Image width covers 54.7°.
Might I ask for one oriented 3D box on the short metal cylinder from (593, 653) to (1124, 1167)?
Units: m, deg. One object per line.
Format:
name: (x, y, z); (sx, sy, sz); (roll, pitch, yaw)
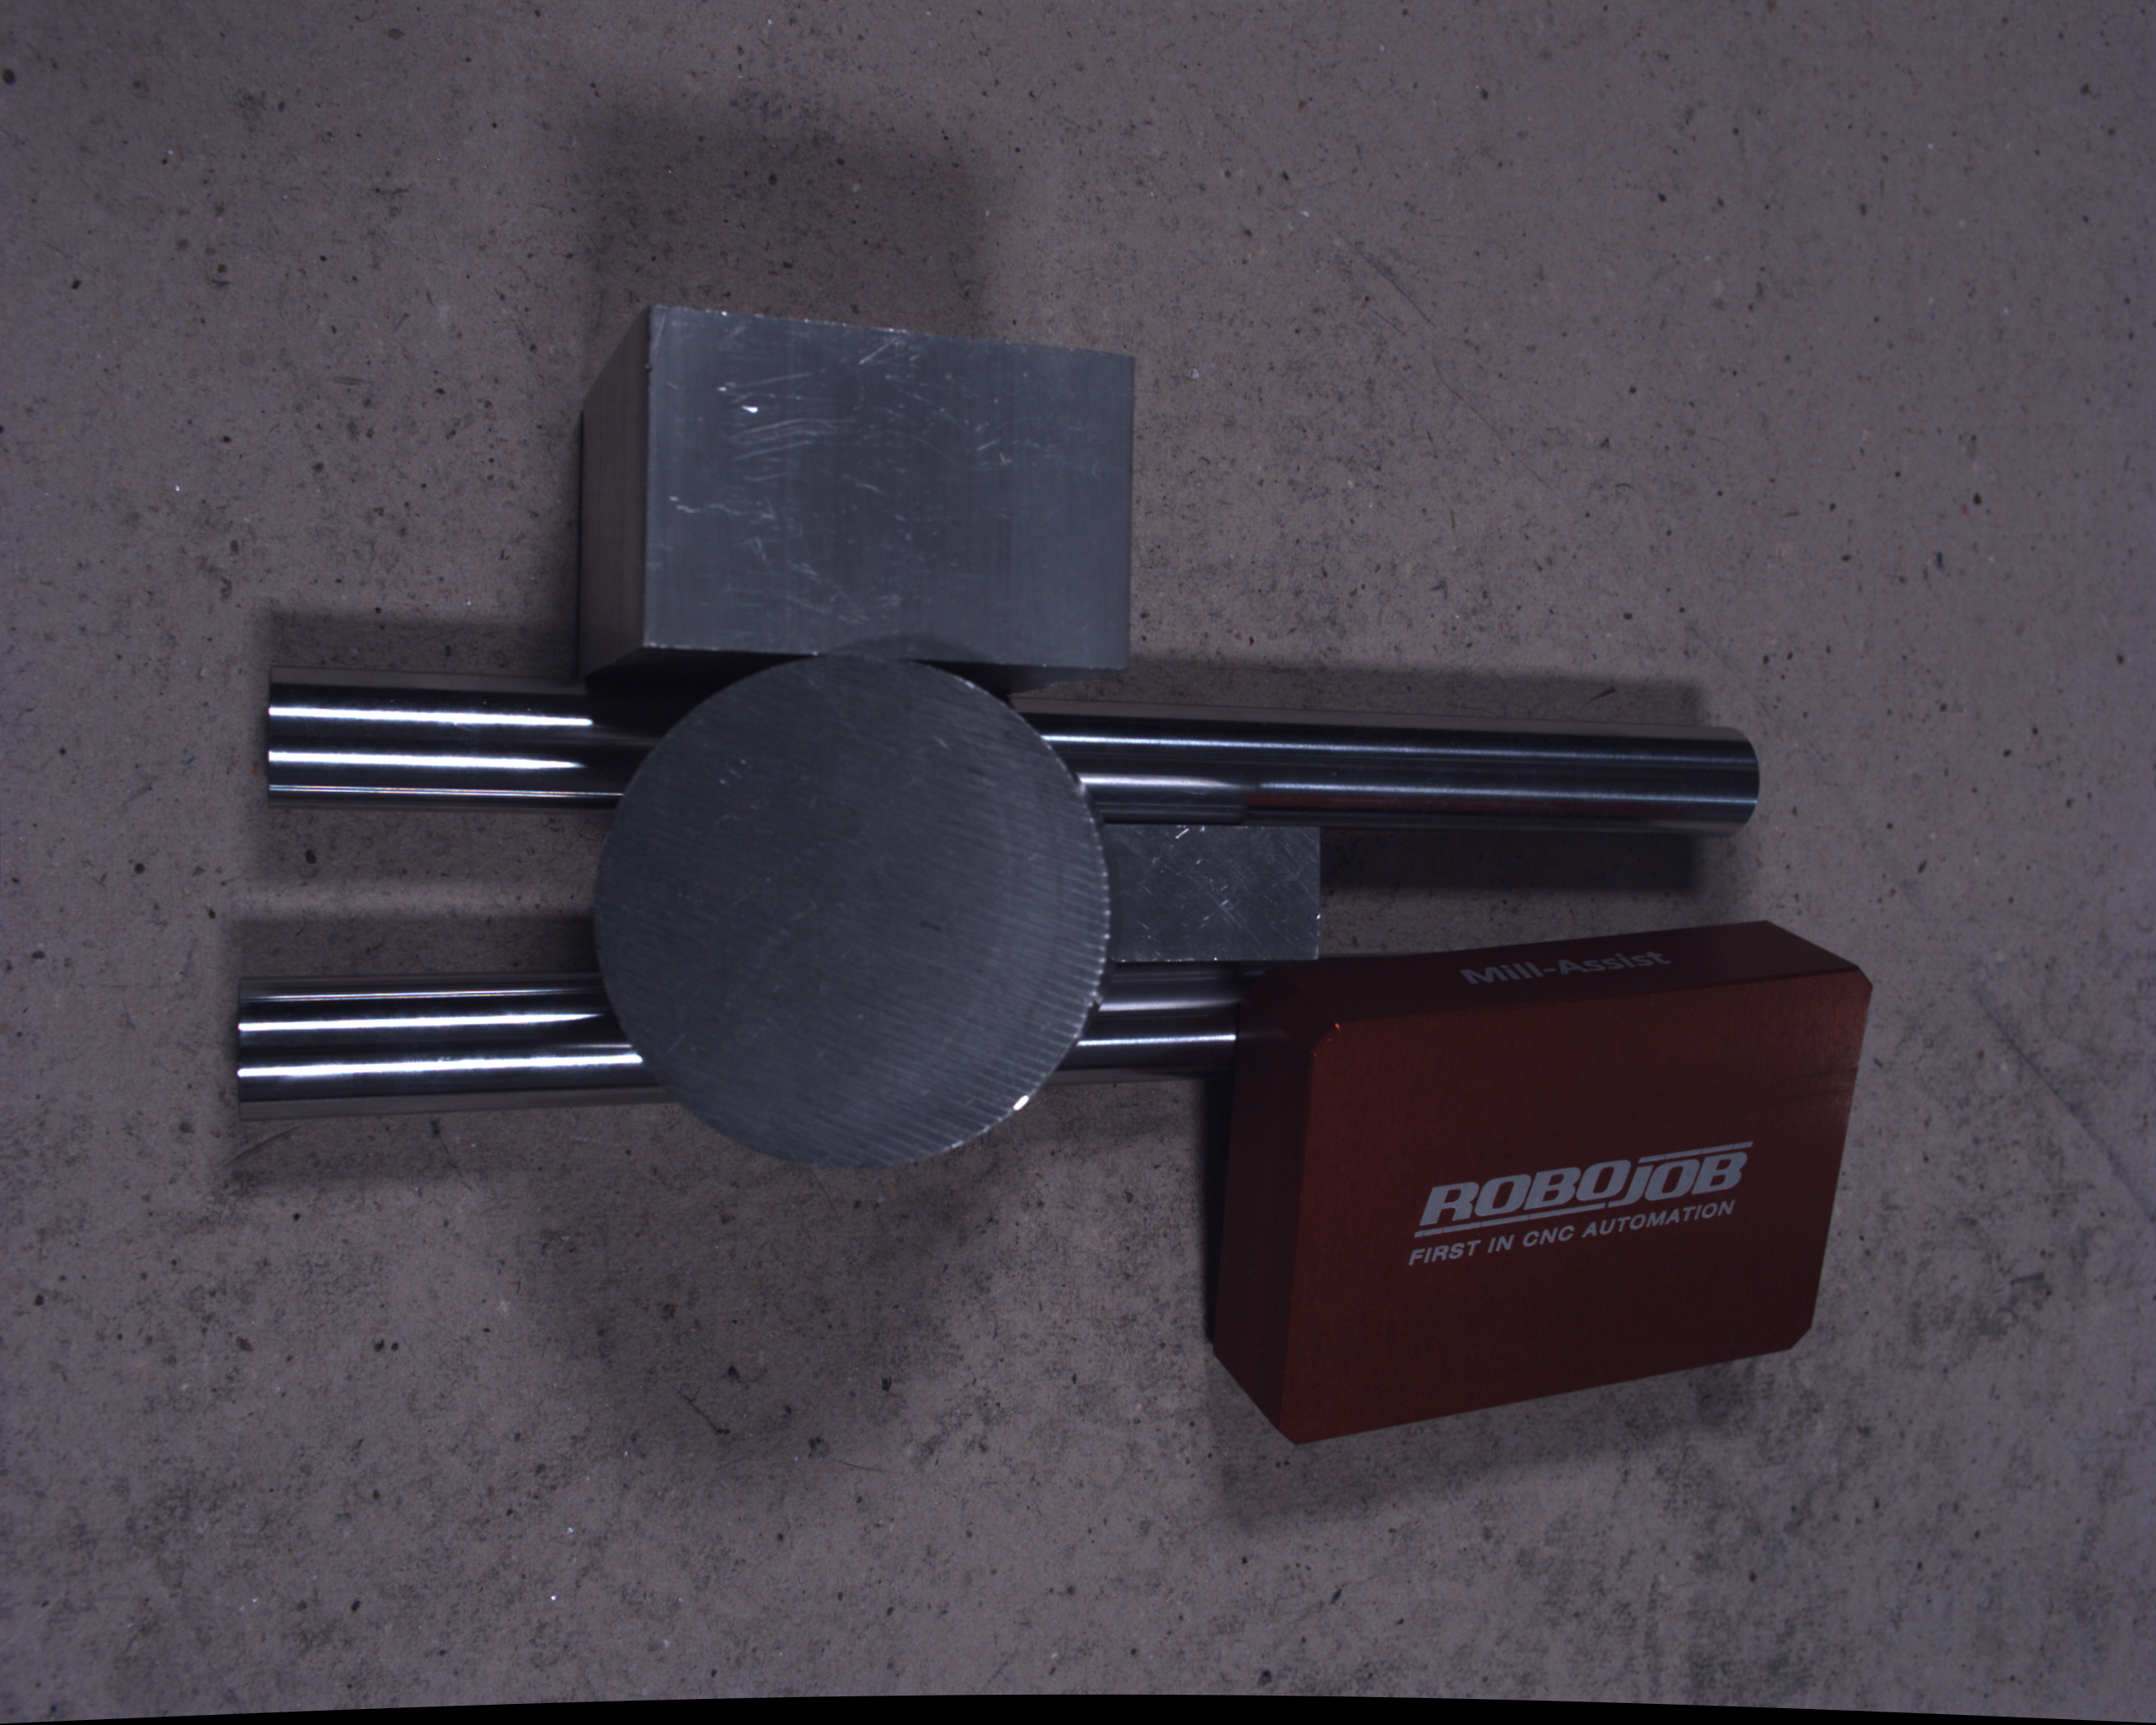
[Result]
short metal cylinder: (-0.034, 0.008, 0.347); (0.080, 0.050, 0.079); (0, 88, 3)

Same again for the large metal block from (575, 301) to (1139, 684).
large metal block: (-0.042, -0.060, 0.367); (0.081, 0.080, 0.050); (1, 90, -20)

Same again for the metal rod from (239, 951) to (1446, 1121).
metal rod: (-0.002, 0.031, 0.411); (0.303, 0.025, 0.025); (0, 90, -21)

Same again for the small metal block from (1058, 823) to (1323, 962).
small metal block: (0.013, 0.005, 0.402); (0.050, 0.050, 0.025); (1, 90, -20)

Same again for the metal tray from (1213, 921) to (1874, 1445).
metal tray: (0.096, 0.063, 0.430); (0.131, 0.030, 0.089); (-4, 109, -22)

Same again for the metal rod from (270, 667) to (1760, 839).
metal rod: (0.003, -0.020, 0.412); (0.303, 0.025, 0.025); (1, 90, -21)
